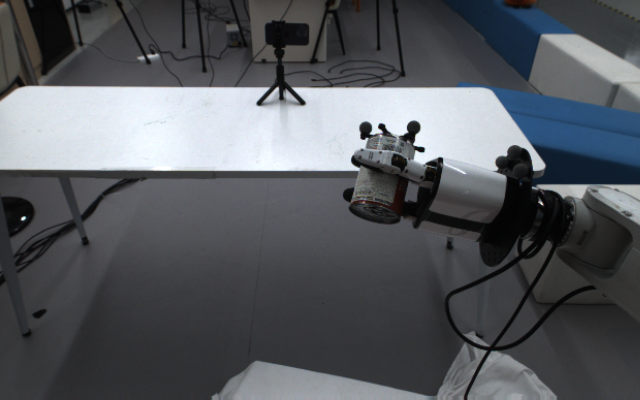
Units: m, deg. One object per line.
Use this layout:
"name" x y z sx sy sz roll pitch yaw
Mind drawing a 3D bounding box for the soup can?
"soup can" 0.084 -0.028 0.634 0.067 0.067 0.101 11 72 13
